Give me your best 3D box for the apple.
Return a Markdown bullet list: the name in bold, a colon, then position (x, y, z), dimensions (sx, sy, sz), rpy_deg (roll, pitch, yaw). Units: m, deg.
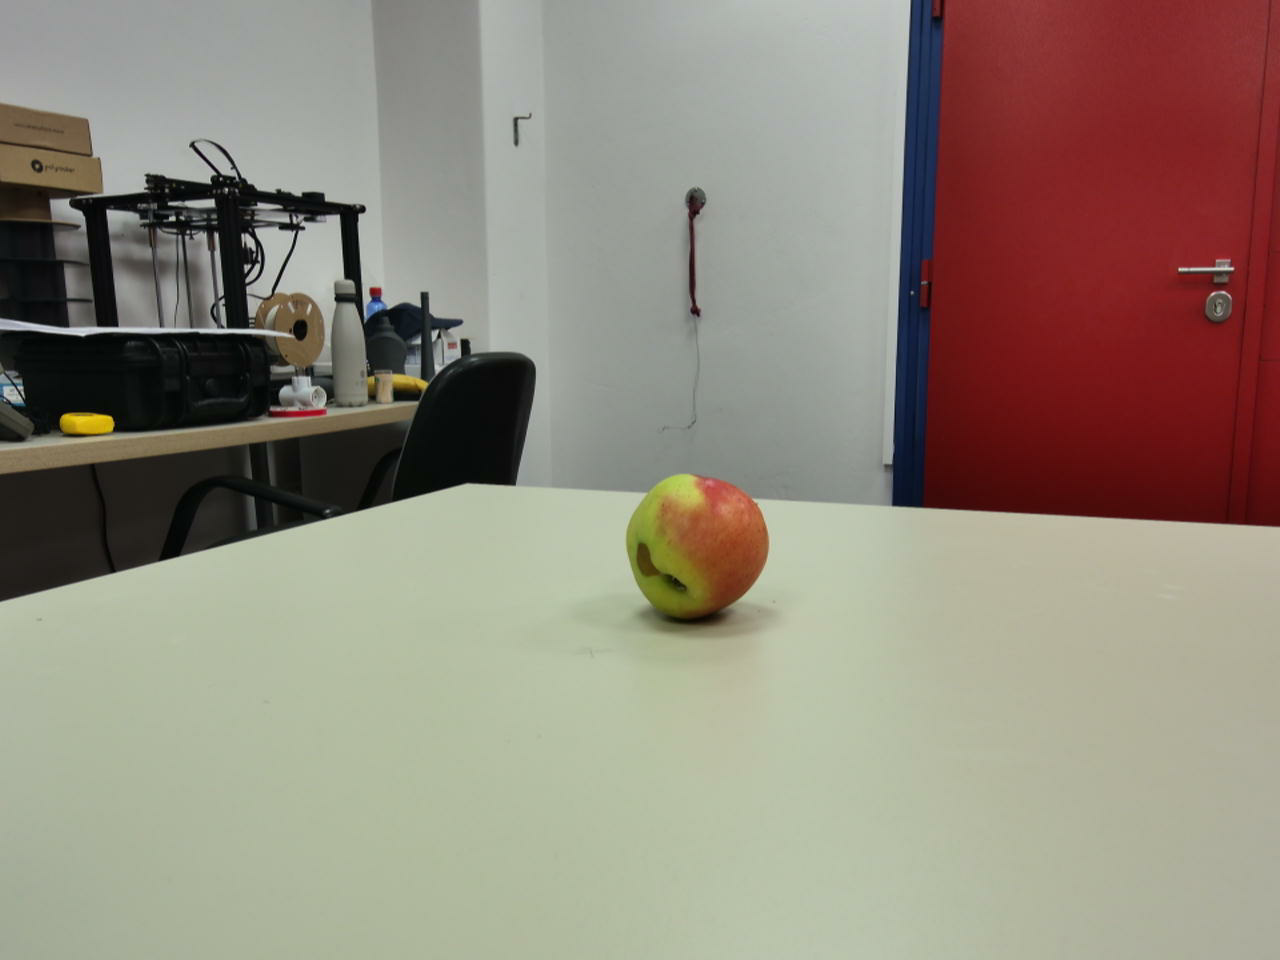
- **apple**: position (0.030, 0.035, 0.529), dimensions (0.075, 0.074, 0.075), rpy_deg (1, 6, 4)
